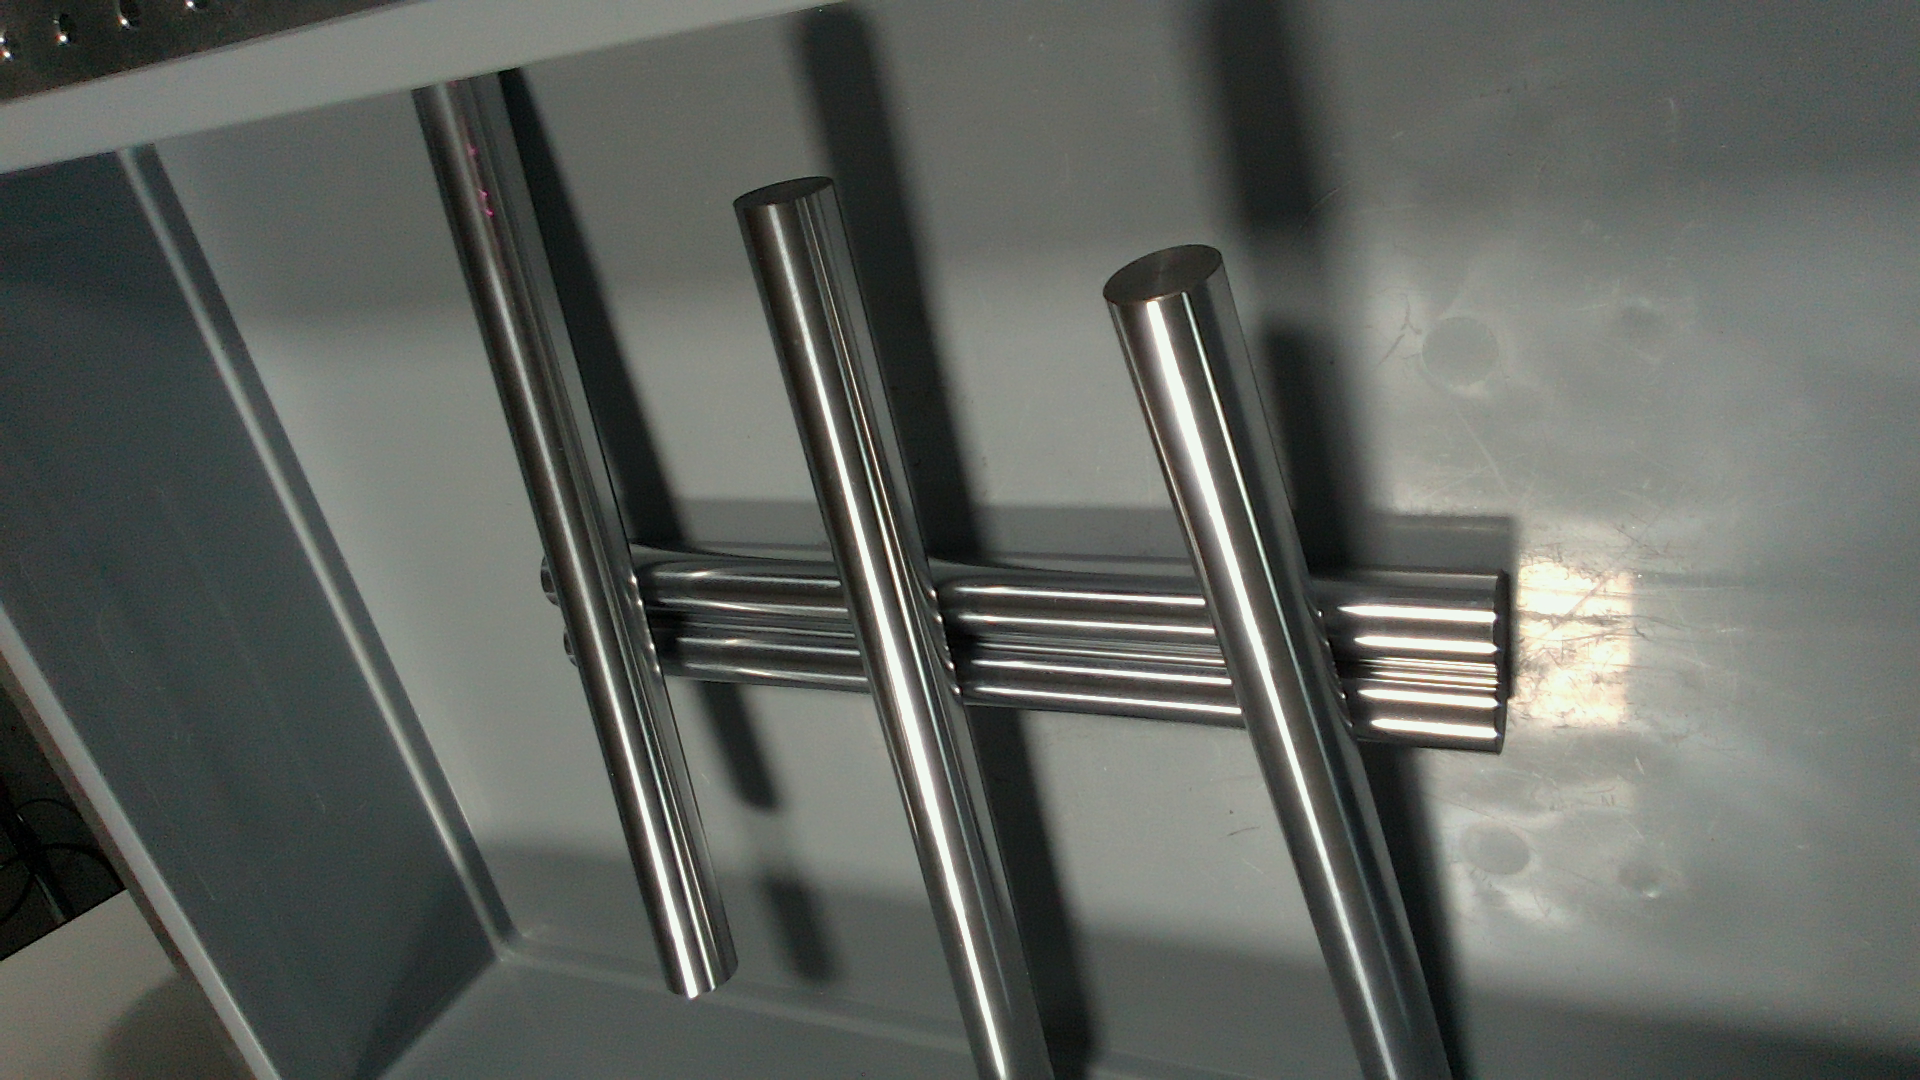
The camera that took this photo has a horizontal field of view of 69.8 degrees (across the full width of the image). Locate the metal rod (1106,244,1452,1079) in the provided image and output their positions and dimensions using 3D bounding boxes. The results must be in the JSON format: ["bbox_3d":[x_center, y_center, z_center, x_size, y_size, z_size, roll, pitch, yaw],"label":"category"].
[{"bbox_3d":[0.094,0.066,0.353,0.025,0.025,0.300,-4,125,30],"label":"metal rod"}]

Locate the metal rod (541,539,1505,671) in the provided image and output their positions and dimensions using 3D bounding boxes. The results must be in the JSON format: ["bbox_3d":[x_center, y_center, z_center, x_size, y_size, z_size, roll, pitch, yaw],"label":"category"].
[{"bbox_3d":[-0.002,0.015,0.403,0.299,0.025,0.025,2,119,27],"label":"metal rod"}]

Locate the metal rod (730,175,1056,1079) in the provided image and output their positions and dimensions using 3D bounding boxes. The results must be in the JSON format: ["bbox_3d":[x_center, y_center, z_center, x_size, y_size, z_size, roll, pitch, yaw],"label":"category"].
[{"bbox_3d":[-0.012,0.048,0.395,0.025,0.025,0.300,1,119,28],"label":"metal rod"}]

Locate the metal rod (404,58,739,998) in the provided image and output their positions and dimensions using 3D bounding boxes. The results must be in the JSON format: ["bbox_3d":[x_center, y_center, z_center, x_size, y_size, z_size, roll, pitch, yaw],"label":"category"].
[{"bbox_3d":[-0.115,0.009,0.428,0.025,0.025,0.300,-1,110,29],"label":"metal rod"}]

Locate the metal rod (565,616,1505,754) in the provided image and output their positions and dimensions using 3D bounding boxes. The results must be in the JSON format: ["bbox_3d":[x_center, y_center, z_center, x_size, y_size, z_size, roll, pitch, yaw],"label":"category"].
[{"bbox_3d":[0.003,0.037,0.414,0.299,0.025,0.025,2,119,27],"label":"metal rod"}]
